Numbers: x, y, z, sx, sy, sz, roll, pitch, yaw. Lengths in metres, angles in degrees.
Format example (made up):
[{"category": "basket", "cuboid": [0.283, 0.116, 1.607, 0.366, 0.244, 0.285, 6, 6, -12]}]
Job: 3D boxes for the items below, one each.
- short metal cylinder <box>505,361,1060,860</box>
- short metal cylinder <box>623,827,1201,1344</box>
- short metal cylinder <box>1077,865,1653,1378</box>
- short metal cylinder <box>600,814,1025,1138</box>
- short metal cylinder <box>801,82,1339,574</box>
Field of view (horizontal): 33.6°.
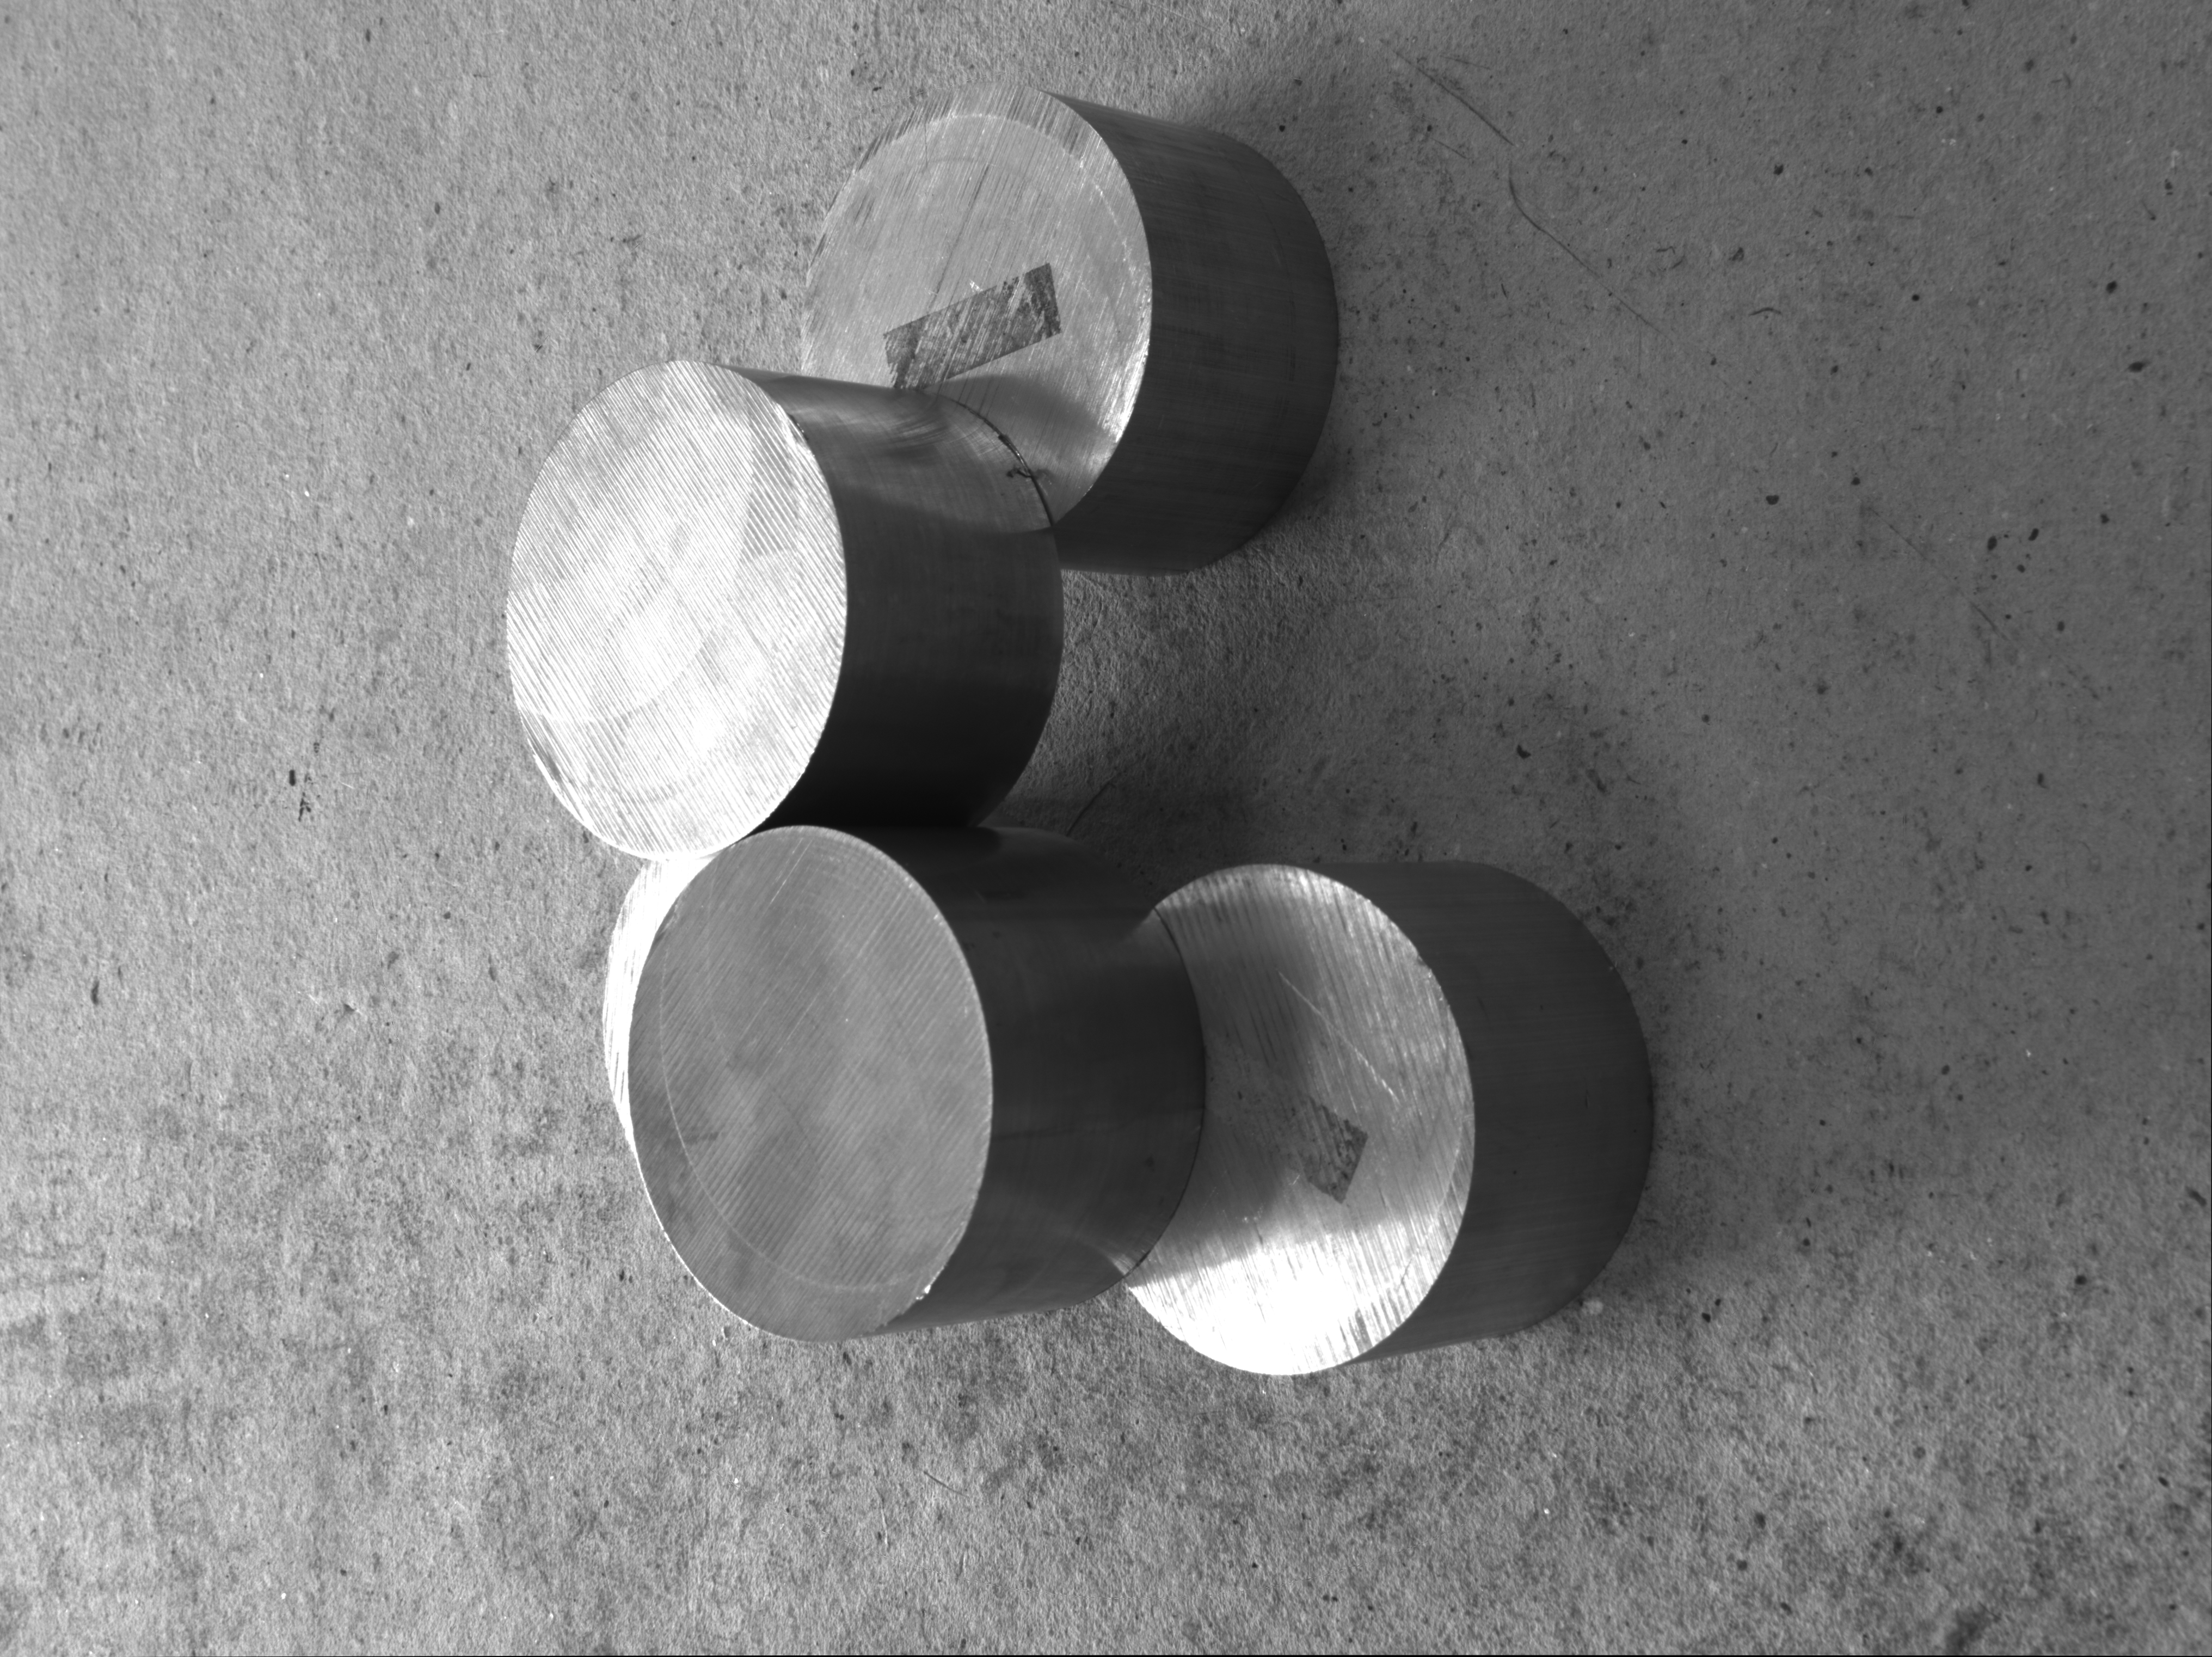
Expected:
[{"category": "short metal cylinder", "cuboid": [-0.054, -0.035, 0.608, 0.080, 0.050, 0.080, 0, 89, 41]}, {"category": "short metal cylinder", "cuboid": [-0.032, 0.040, 0.588, 0.080, 0.050, 0.080, 0, 89, 40]}, {"category": "short metal cylinder", "cuboid": [0.041, 0.046, 0.594, 0.080, 0.050, 0.080, 0, 90, 40]}, {"category": "short metal cylinder", "cuboid": [-0.046, 0.035, 0.668, 0.080, 0.050, 0.080, 0, 90, 40]}, {"category": "short metal cylinder", "cuboid": [-0.007, -0.085, 0.635, 0.080, 0.050, 0.080, 0, 90, 40]}]
